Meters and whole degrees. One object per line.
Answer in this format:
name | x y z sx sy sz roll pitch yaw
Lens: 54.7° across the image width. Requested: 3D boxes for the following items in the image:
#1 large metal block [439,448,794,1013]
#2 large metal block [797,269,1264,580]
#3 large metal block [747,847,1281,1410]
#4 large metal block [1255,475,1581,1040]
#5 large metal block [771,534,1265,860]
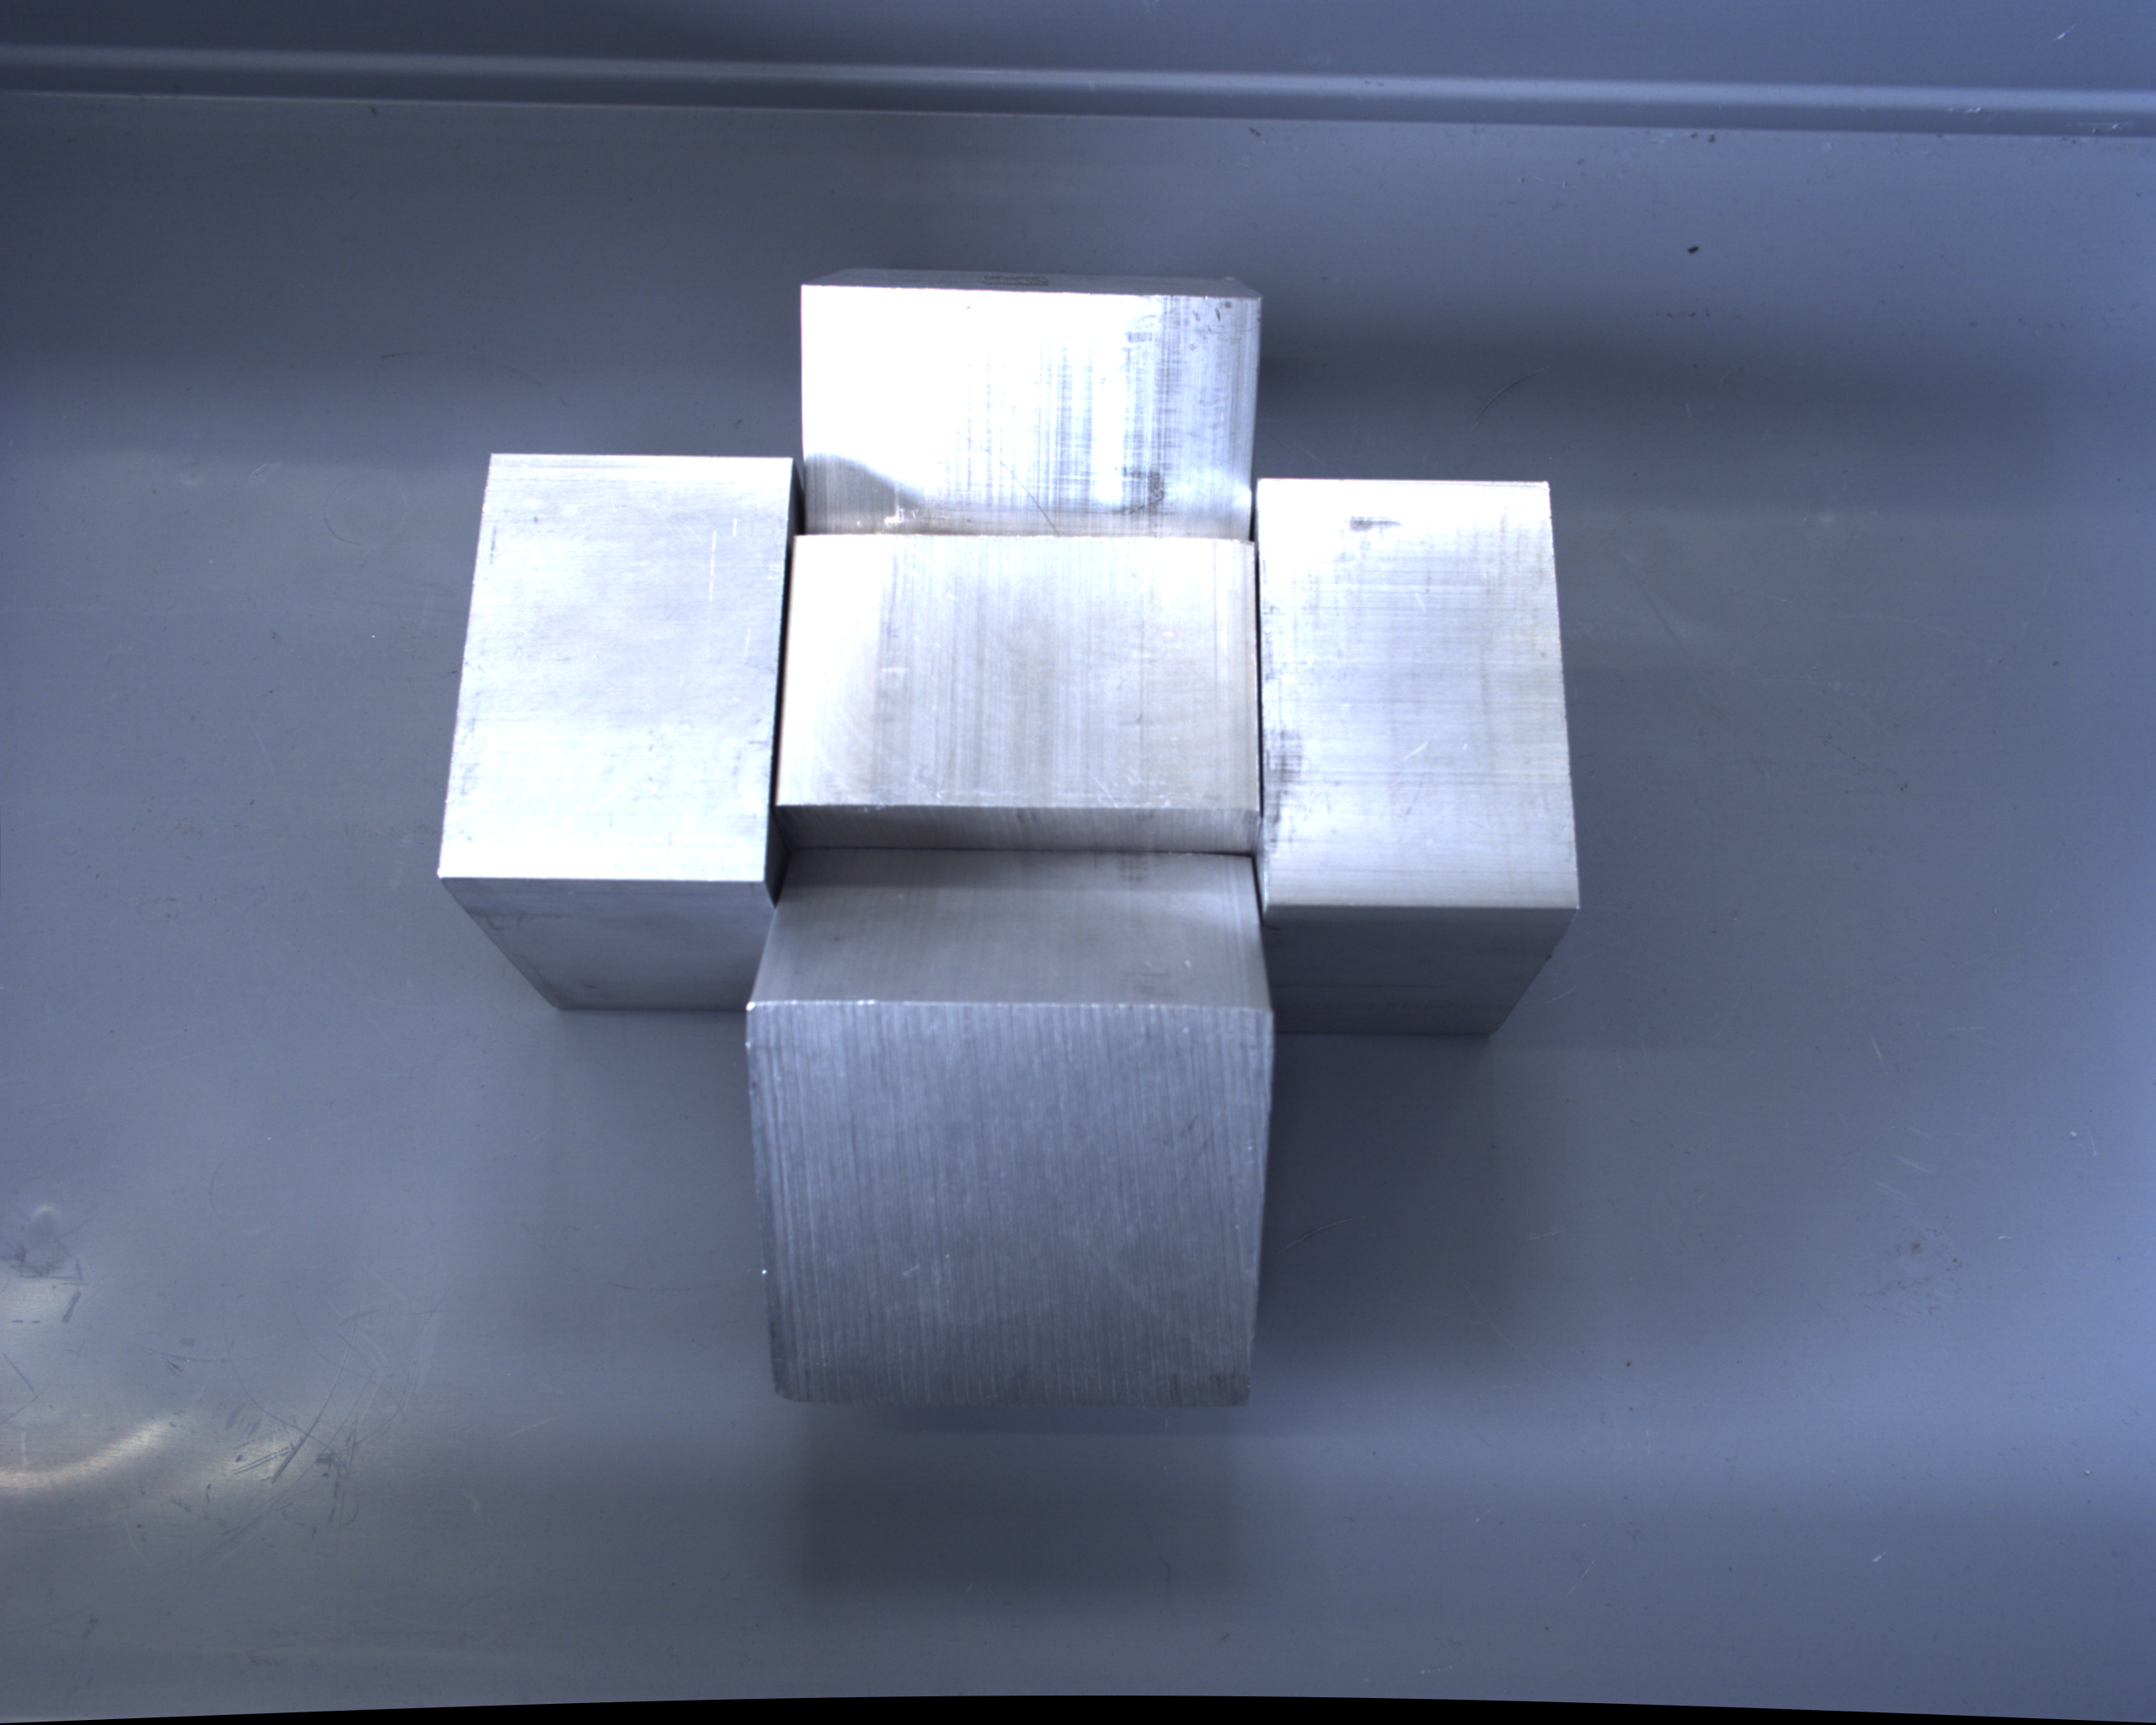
large metal block | -0.077 -0.021 0.386 0.050 0.080 0.080 1 70 0
large metal block | -0.008 -0.087 0.404 0.080 0.080 0.050 2 108 0
large metal block | -0.011 0.045 0.355 0.081 0.079 0.050 1 28 -1
large metal block | 0.056 -0.016 0.385 0.050 0.080 0.080 1 70 0
large metal block | -0.009 -0.019 0.386 0.080 0.080 0.050 1 70 0
